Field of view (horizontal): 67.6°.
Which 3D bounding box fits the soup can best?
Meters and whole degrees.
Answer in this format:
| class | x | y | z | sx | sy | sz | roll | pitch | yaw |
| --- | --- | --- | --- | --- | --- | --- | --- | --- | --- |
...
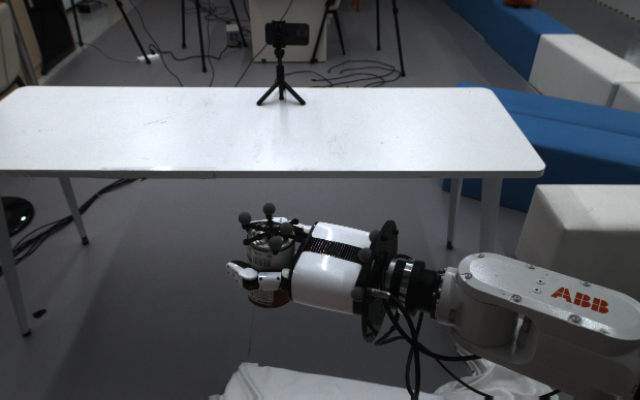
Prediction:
| class | x | y | z | sx | sy | sz | roll | pitch | yaw |
| --- | --- | --- | --- | --- | --- | --- | --- | --- | --- |
| soup can | -0.067 | 0.090 | 0.671 | 0.067 | 0.101 | 0.067 | 3 | 30 | -2 |
